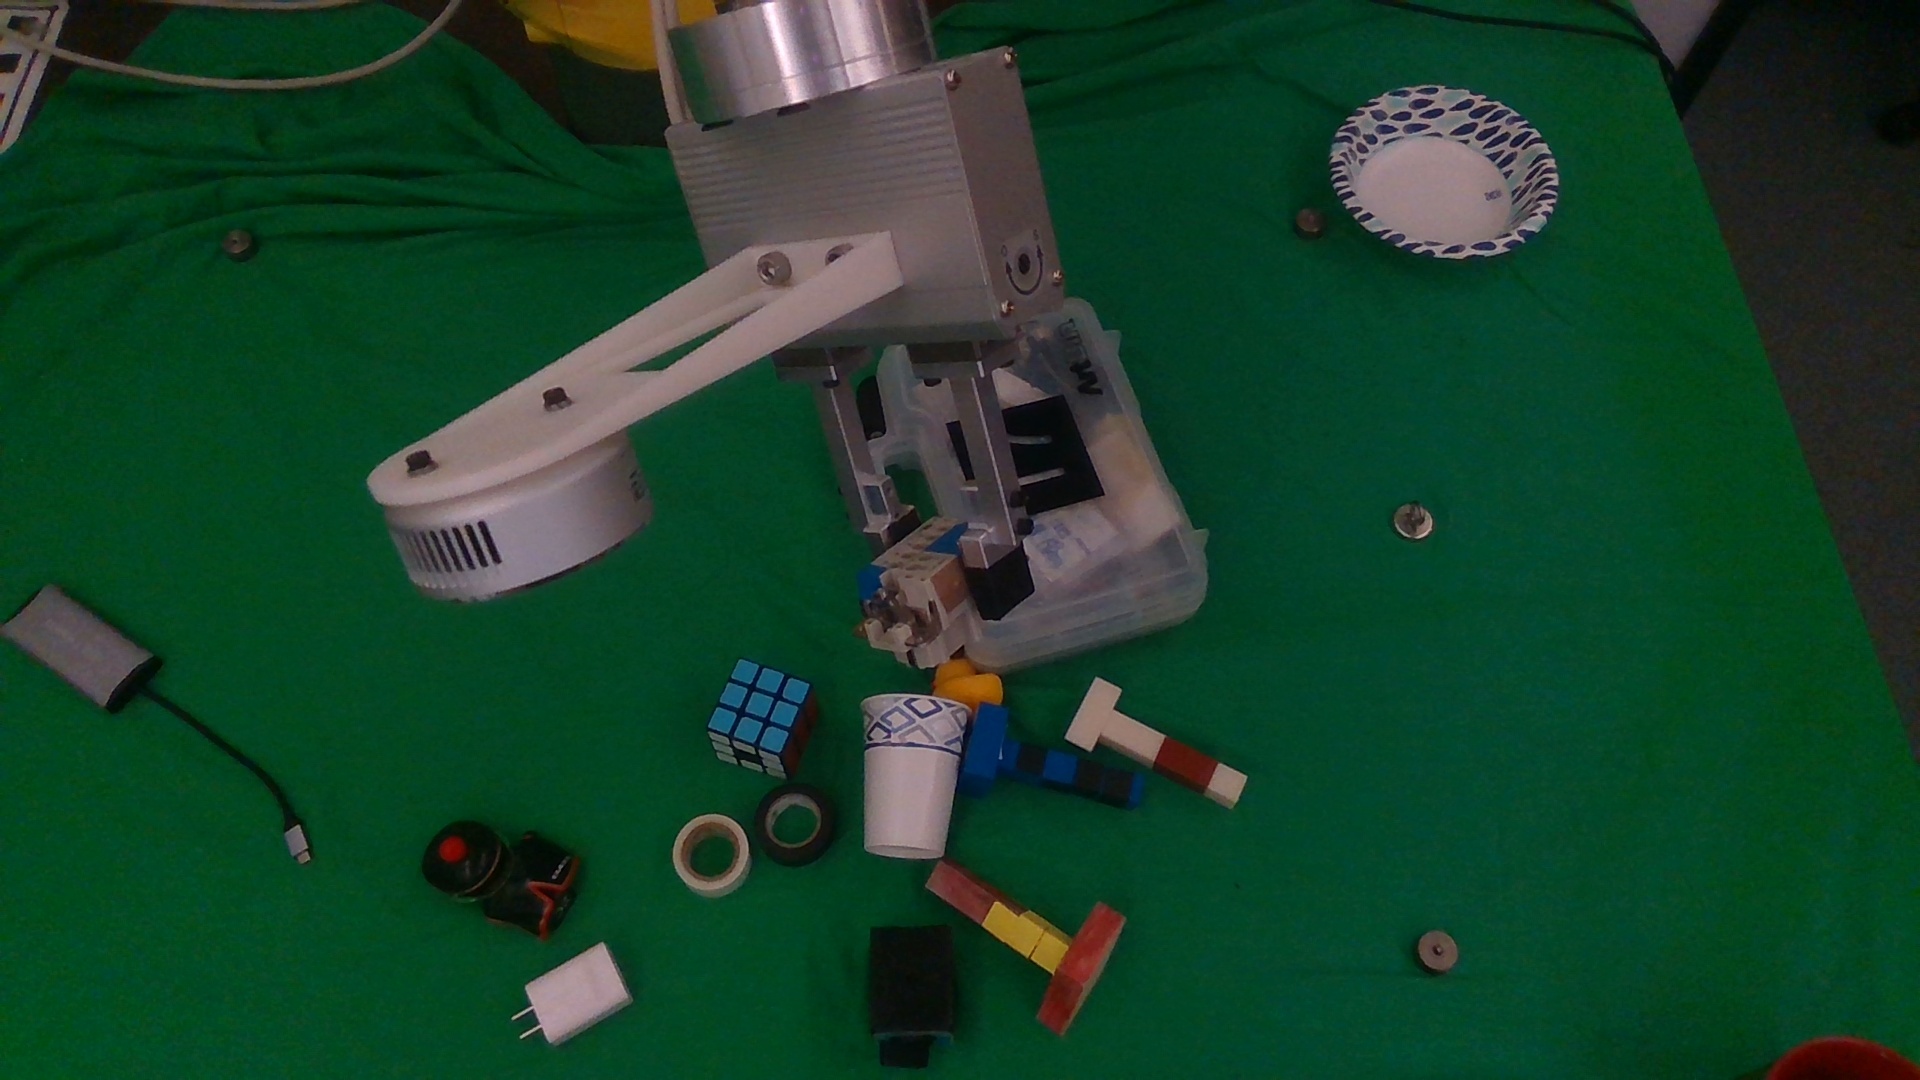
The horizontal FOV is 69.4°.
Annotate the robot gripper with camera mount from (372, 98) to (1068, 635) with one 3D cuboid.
[{"bbox_3d":[-0.057,-0.011,0.387,0.119,0.158,0.193,-4,23,38],"label":"robot gripper with camera mount"}]

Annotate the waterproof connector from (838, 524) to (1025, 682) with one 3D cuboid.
[{"bbox_3d":[-0.009,0.021,0.465,0.035,0.037,0.065,5,30,47],"label":"waterproof connector"}]
